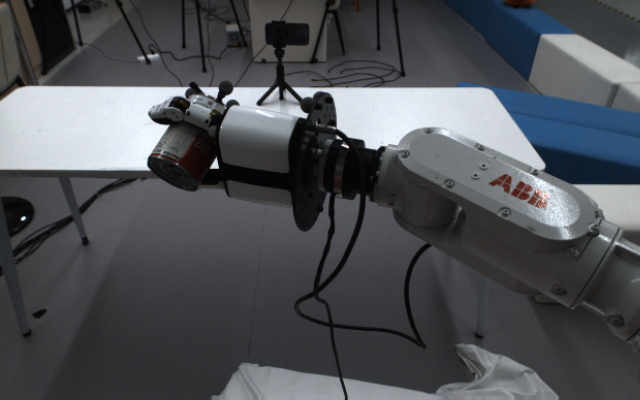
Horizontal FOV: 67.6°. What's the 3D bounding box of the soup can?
[{"bbox_3d":[-0.155,-0.071,0.589,0.067,0.067,0.101,16,63,19],"label":"soup can"}]
